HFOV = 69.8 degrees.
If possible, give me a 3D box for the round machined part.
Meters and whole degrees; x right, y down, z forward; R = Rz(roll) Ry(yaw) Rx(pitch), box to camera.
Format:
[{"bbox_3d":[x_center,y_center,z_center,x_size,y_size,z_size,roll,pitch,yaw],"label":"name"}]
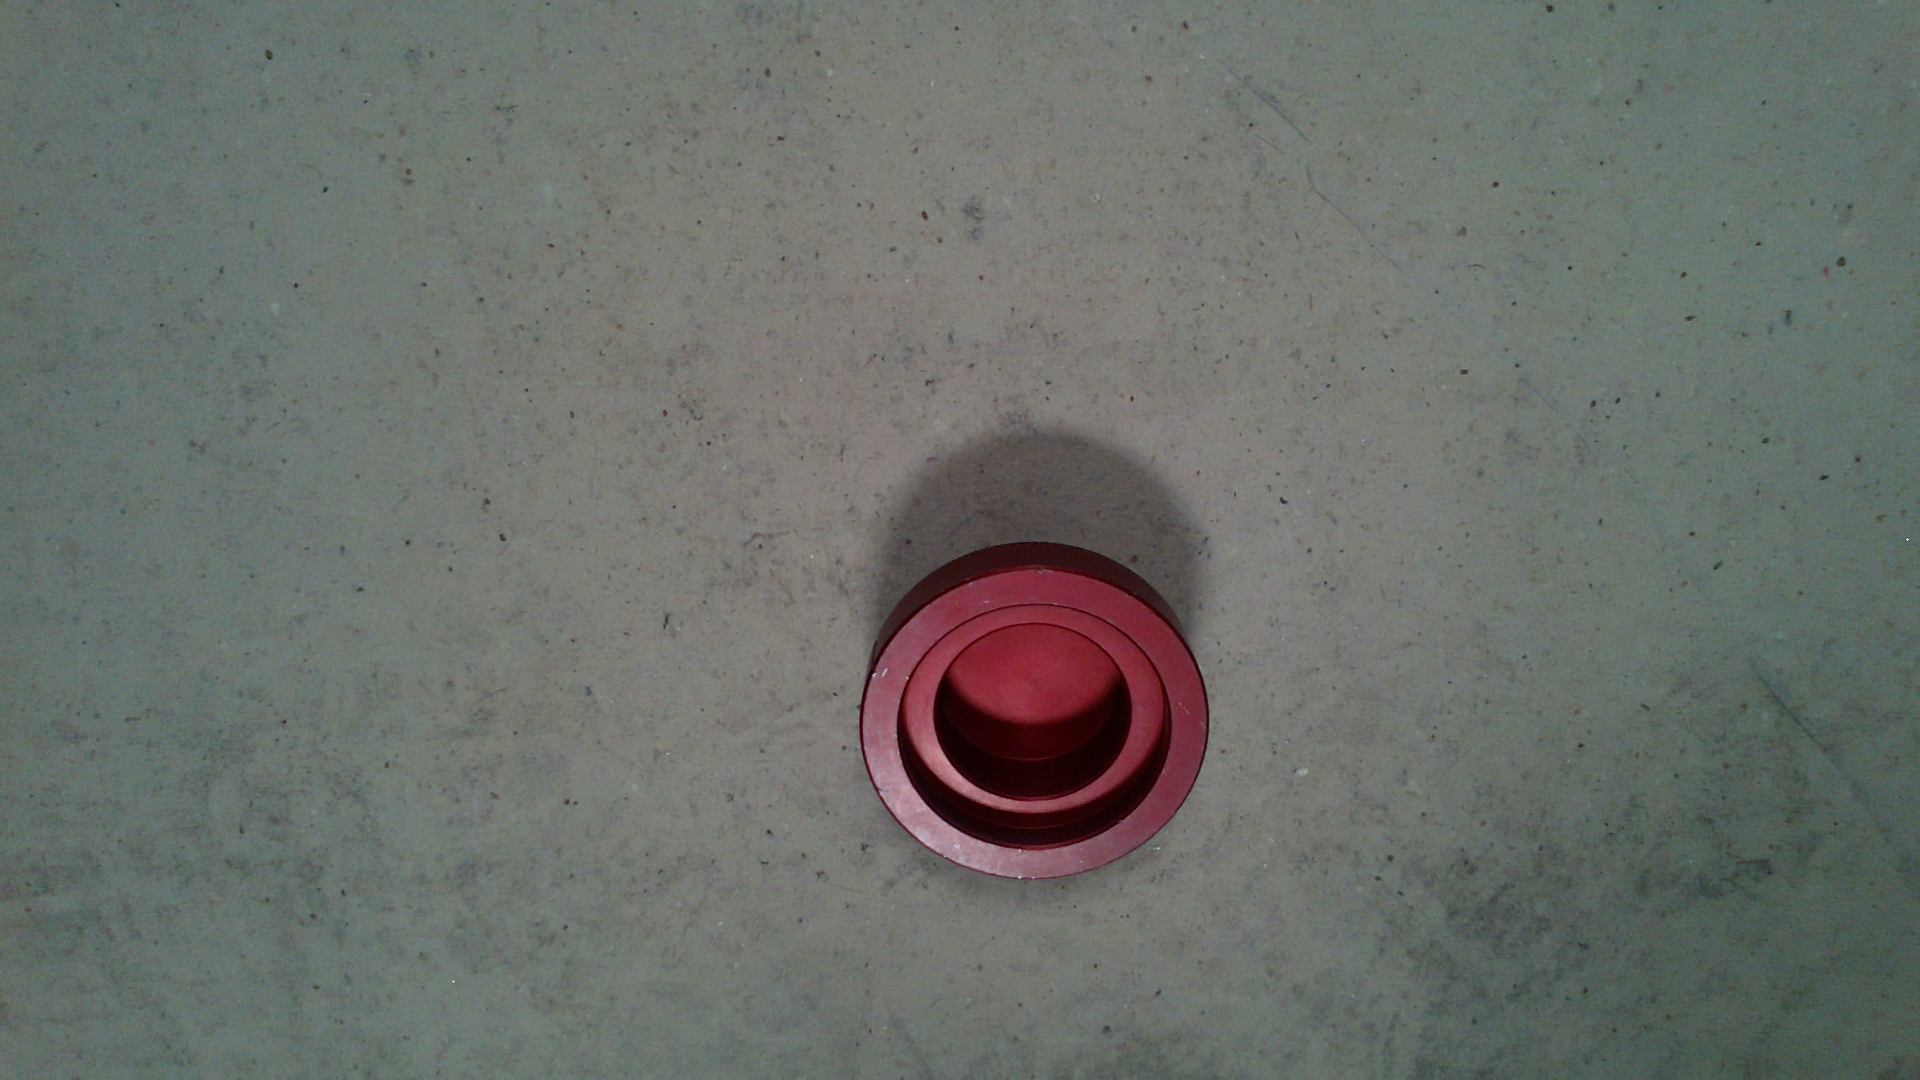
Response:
[{"bbox_3d":[0.021,0.046,0.402,0.098,0.042,0.098,0,110,0],"label":"round machined part"}]
